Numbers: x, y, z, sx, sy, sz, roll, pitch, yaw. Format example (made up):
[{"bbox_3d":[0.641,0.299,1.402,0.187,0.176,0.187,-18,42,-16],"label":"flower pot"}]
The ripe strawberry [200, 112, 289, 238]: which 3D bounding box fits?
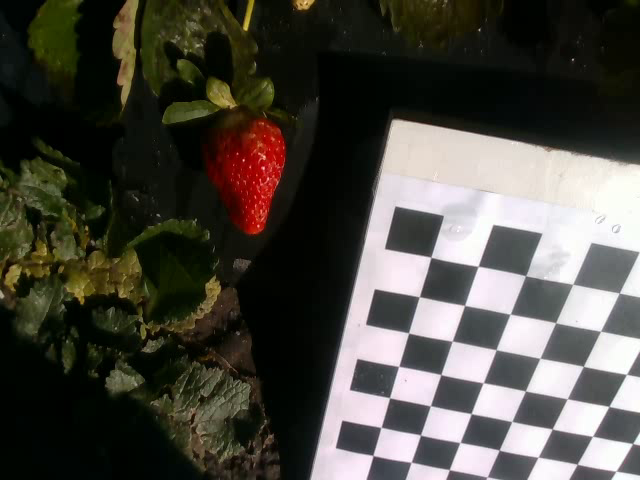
[{"bbox_3d":[-0.036,-0.032,0.296,0.048,0.069,0.040,-4,21,10],"label":"ripe strawberry"}]
